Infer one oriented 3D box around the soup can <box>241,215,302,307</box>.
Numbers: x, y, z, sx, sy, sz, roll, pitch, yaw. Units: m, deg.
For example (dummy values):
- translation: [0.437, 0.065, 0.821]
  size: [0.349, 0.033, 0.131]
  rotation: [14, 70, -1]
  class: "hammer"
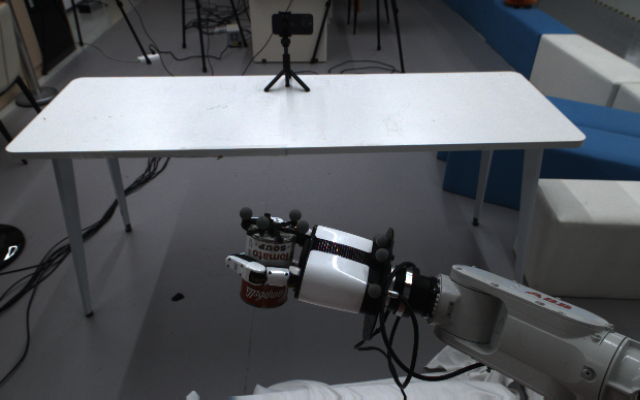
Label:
- translation: [-0.070, 0.089, 0.666]
  size: [0.067, 0.101, 0.067]
  rotation: [8, 19, -3]
  class: "soup can"
